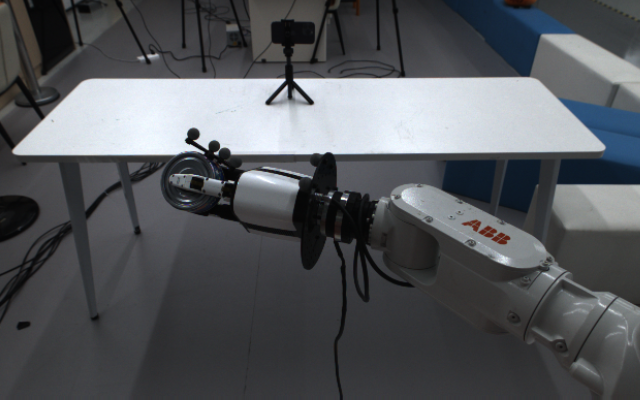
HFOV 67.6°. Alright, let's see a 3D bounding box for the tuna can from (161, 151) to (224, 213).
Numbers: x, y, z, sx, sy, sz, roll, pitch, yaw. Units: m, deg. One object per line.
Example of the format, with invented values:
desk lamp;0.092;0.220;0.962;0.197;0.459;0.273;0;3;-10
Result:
tuna can;-0.180;-0.025;0.687;0.085;0.085;0.034;12;-4;14
